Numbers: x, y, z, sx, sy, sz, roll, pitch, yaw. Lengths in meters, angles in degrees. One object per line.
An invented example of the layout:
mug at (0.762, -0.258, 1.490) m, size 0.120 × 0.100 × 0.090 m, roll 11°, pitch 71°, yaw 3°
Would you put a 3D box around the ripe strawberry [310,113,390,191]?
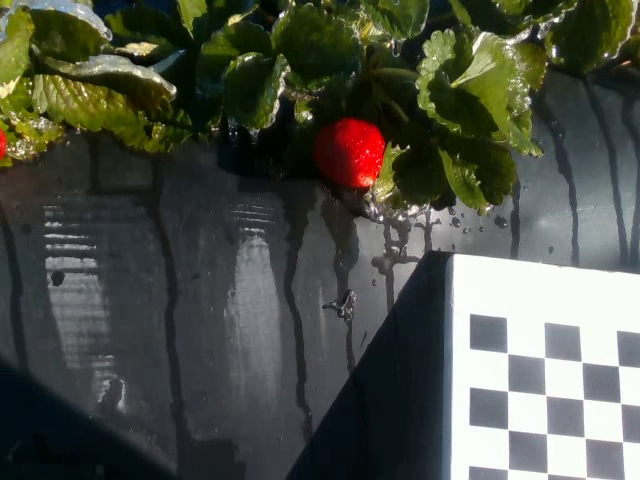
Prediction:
ripe strawberry at (0.019, -0.044, 0.403) m, size 0.041 × 0.047 × 0.053 m, roll 1°, pitch 30°, yaw -6°
